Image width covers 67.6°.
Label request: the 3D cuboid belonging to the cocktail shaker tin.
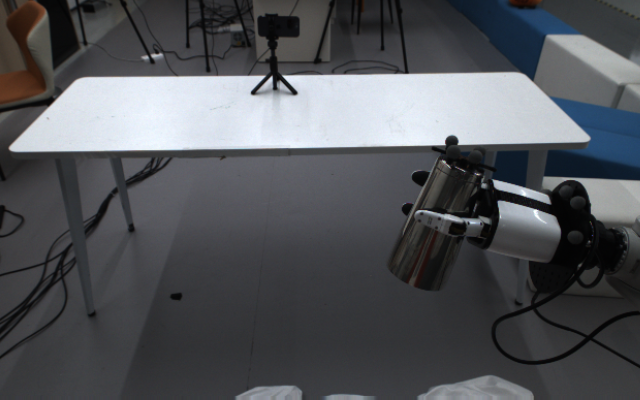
[{"bbox_3d":[0.165,0.028,0.671,0.093,0.170,0.093,16,21,-6],"label":"cocktail shaker tin"}]
